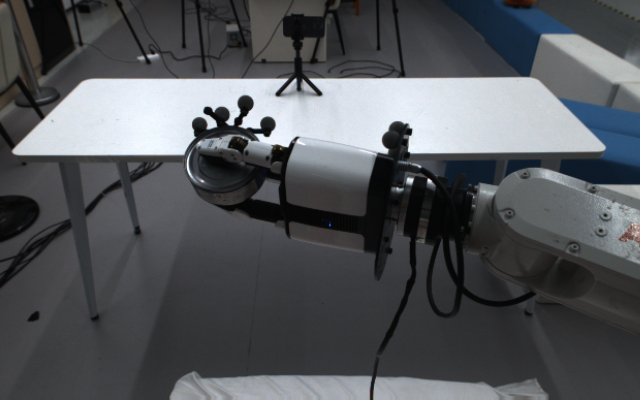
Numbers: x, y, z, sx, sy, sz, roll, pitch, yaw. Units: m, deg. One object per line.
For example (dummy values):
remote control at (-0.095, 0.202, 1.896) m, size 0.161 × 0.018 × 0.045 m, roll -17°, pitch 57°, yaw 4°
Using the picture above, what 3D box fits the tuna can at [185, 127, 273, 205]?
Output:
tuna can at (-0.100, -0.033, 0.524) m, size 0.085 × 0.034 × 0.085 m, roll -1°, pitch 58°, yaw 2°
